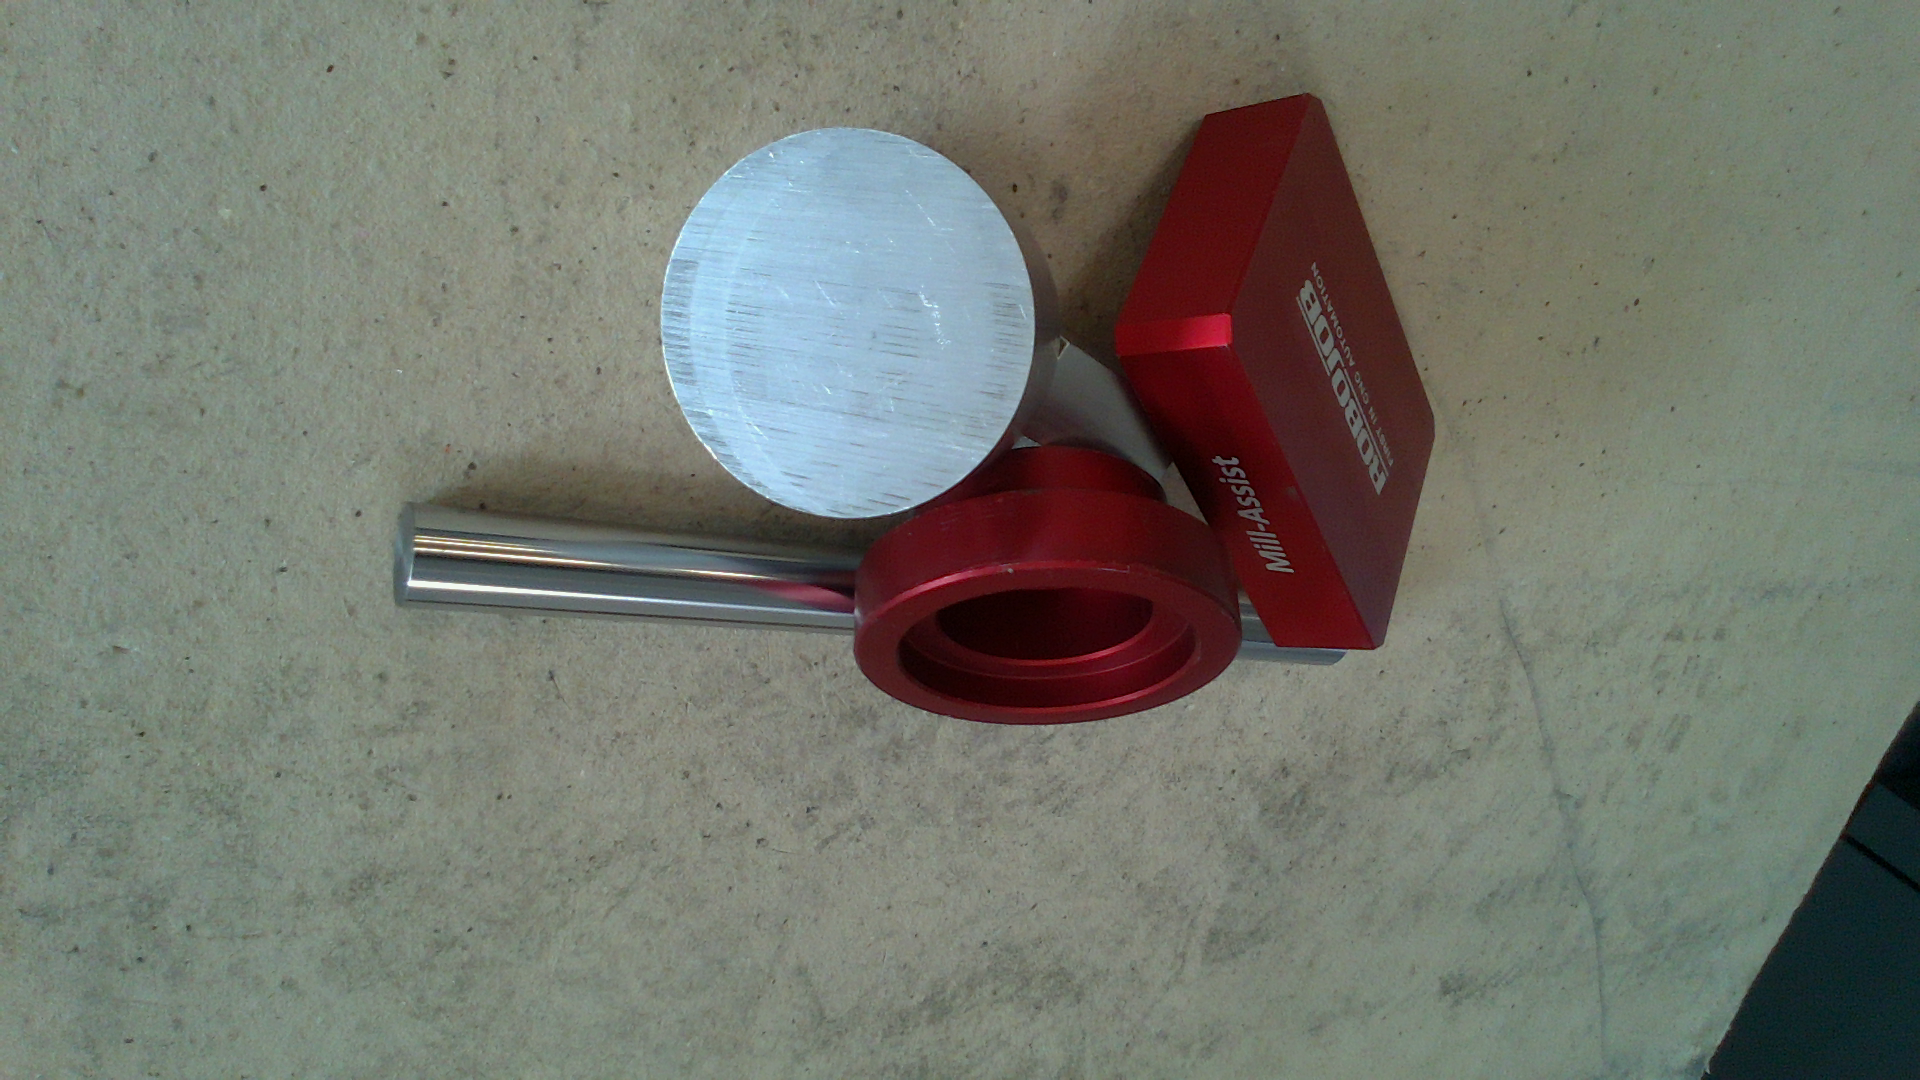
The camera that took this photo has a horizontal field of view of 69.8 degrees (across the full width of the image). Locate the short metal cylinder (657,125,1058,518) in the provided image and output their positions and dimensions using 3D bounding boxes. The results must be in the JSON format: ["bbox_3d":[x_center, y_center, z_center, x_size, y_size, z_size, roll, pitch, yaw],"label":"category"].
[{"bbox_3d":[-0.020,-0.048,0.308,0.080,0.050,0.080,1,98,10],"label":"short metal cylinder"}]

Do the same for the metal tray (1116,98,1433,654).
[{"bbox_3d":[0.093,-0.040,0.379,0.130,0.030,0.090,54,48,-39],"label":"metal tray"}]

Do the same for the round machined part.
[{"bbox_3d":[0.021,0.011,0.357,0.098,0.042,0.098,-1,151,-1],"label":"round machined part"}]

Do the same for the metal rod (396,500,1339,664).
[{"bbox_3d":[-0.002,0.017,0.399,0.301,0.025,0.025,6,115,-31],"label":"metal rod"}]

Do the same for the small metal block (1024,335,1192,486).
[{"bbox_3d":[0.027,-0.039,0.362,0.050,0.050,0.025,26,104,-37],"label":"small metal block"}]
